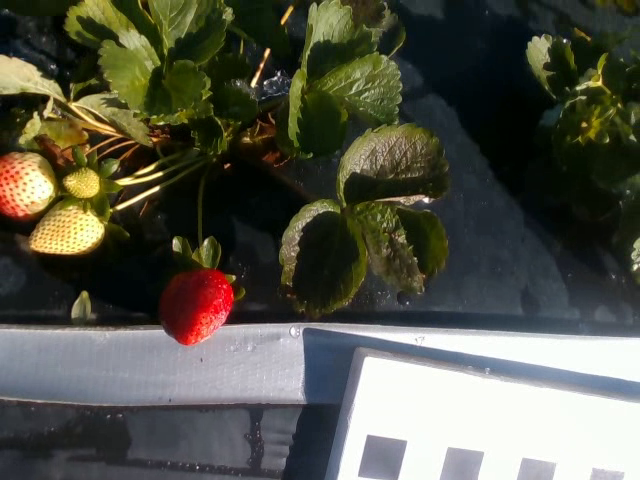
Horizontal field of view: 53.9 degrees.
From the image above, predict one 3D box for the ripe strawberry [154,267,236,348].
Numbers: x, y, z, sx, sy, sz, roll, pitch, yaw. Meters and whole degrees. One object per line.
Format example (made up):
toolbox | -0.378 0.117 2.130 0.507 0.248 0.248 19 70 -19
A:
ripe strawberry | -0.052 0.030 0.258 0.036 0.038 0.046 10 20 -9
